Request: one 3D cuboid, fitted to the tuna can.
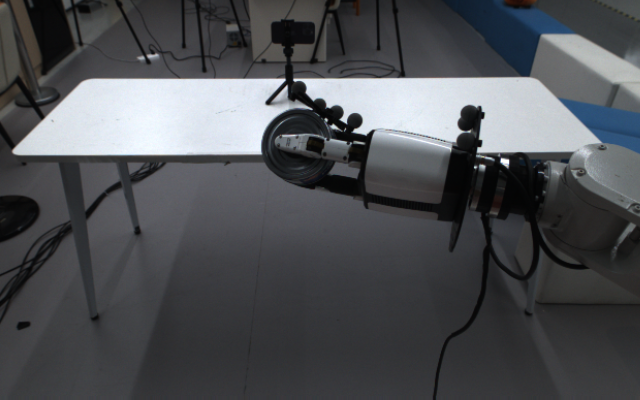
[{"bbox_3d":[-0.020,-0.056,0.561,0.085,0.085,0.034,13,-4,15],"label":"tuna can"}]
